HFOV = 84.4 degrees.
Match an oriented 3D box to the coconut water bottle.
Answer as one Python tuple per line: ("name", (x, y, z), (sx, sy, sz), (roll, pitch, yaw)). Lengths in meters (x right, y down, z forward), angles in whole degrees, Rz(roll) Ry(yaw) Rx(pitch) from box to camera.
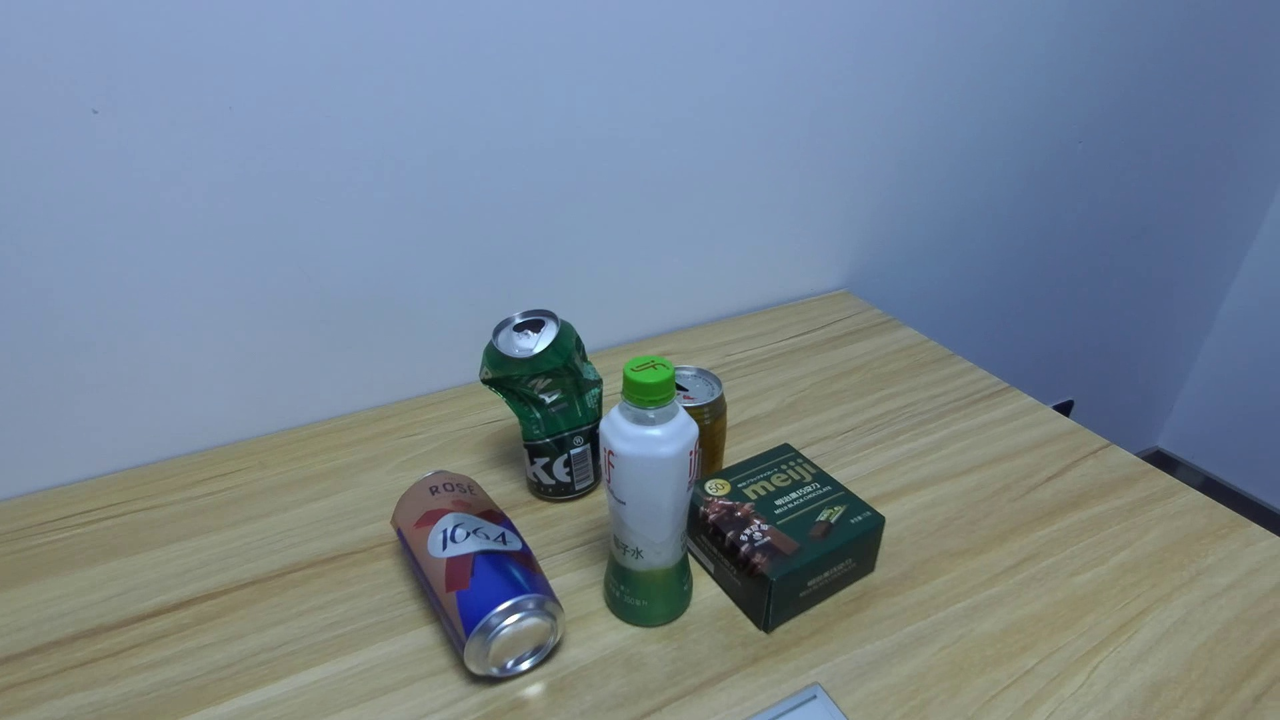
("coconut water bottle", (0.006, 0.086, 0.456), (0.063, 0.189, 0.063), (0, 31, 1))

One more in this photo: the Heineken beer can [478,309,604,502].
("Heineken beer can", (-0.069, 0.038, 0.571), (0.067, 0.159, 0.079), (19, 43, 36))

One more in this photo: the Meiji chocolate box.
("Meiji chocolate box", (0.102, 0.125, 0.524), (0.110, 0.056, 0.108), (-17, 34, -27))

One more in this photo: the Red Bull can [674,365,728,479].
("Red Bull can", (0.037, 0.059, 0.592), (0.069, 0.092, 0.069), (0, 31, 0))

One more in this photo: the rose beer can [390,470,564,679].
("rose beer can", (-0.116, 0.139, 0.492), (0.070, 0.069, 0.167), (-35, 40, -15))
